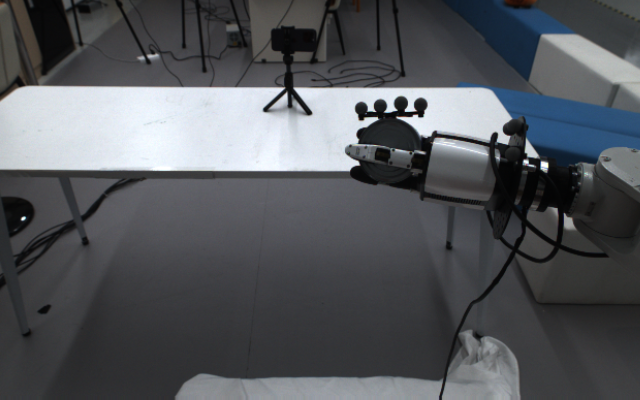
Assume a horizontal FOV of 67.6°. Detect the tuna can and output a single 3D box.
[{"bbox_3d":[0.096,-0.067,0.651,0.085,0.085,0.034,15,10,18],"label":"tuna can"}]
